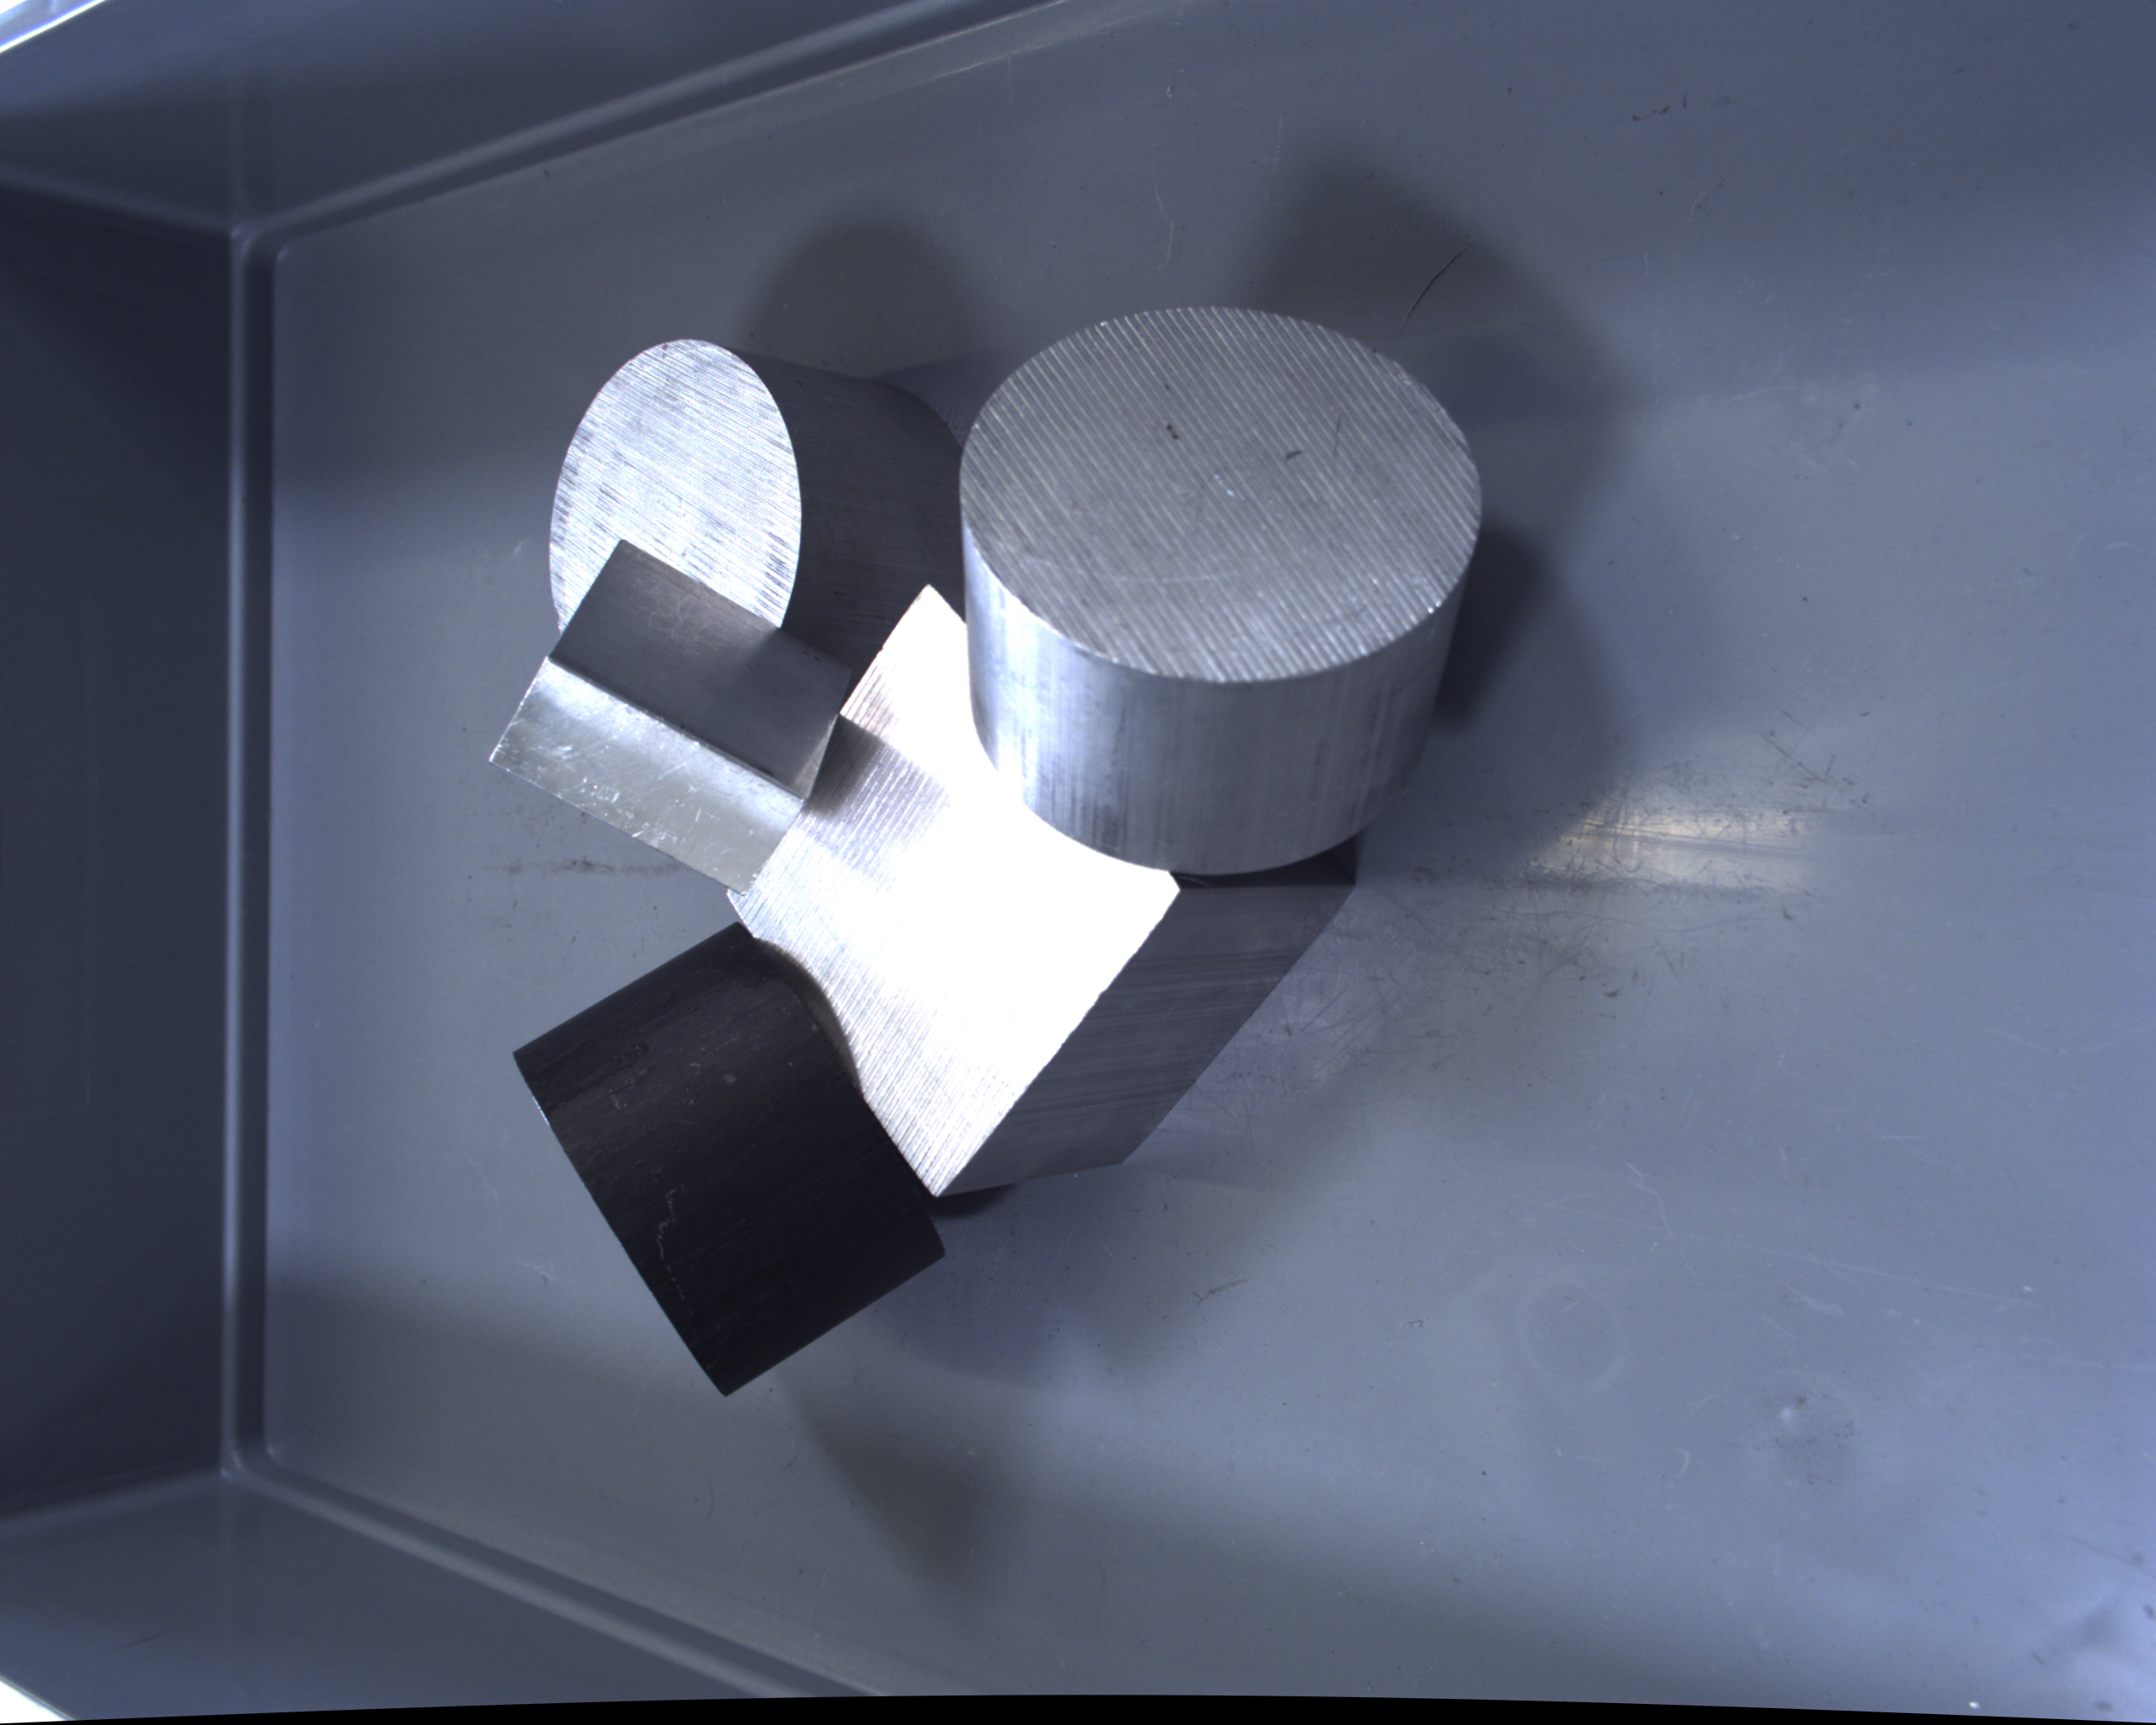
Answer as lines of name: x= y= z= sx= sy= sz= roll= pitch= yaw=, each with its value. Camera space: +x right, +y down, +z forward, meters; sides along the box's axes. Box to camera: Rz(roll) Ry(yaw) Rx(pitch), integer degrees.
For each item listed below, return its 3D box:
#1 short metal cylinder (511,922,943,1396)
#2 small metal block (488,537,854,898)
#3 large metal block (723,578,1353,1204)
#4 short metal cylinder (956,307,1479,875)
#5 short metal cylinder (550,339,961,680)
short metal cylinder: x=-0.070 y=0.059 z=0.419 sx=0.050 sy=0.080 sz=0.080 roll=-32 pitch=70 yaw=-13
small metal block: x=-0.073 y=-0.028 z=0.384 sx=0.025 sy=0.050 sz=0.050 roll=-53 pitch=16 yaw=29
large metal block: x=-0.010 y=0.005 z=0.394 sx=0.080 sy=0.050 sz=0.080 roll=52 pitch=120 yaw=27
short metal cylinder: x=0.021 y=-0.045 z=0.342 sx=0.080 sy=0.081 sz=0.050 roll=51 pitch=158 yaw=28
short metal cylinder: x=-0.067 y=-0.066 z=0.444 sx=0.080 sy=0.050 sz=0.079 roll=0 pitch=90 yaw=40
